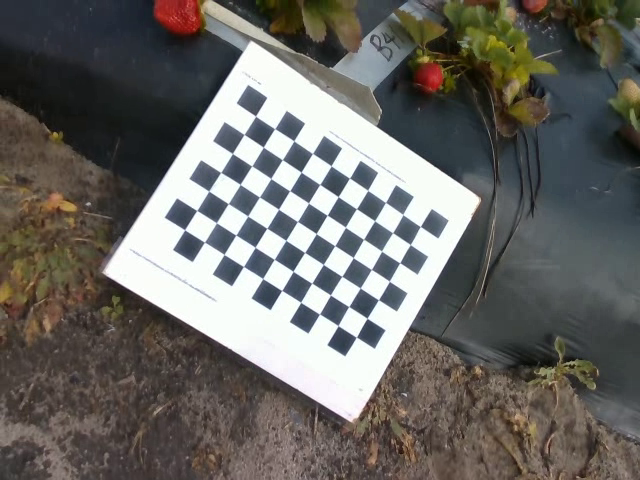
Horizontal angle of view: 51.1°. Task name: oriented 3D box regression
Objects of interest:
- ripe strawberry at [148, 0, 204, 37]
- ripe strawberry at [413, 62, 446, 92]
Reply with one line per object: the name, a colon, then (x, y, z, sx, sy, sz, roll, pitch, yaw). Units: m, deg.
ripe strawberry: (-0.124, -0.205, 0.605, 0.052, 0.048, 0.030, -20, 2, -38)
ripe strawberry: (0.121, -0.167, 0.702, 0.030, 0.038, 0.048, -41, 6, 25)
